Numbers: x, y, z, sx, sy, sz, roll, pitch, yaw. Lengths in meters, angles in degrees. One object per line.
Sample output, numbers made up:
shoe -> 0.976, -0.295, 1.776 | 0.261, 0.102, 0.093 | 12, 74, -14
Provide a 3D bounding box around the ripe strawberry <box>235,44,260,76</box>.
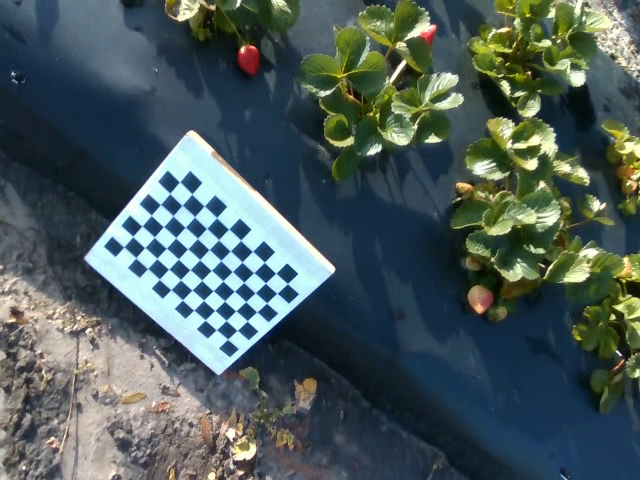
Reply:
ripe strawberry -> -0.092, -0.225, 0.809 | 0.030, 0.044, 0.033 | -12, -11, 17
